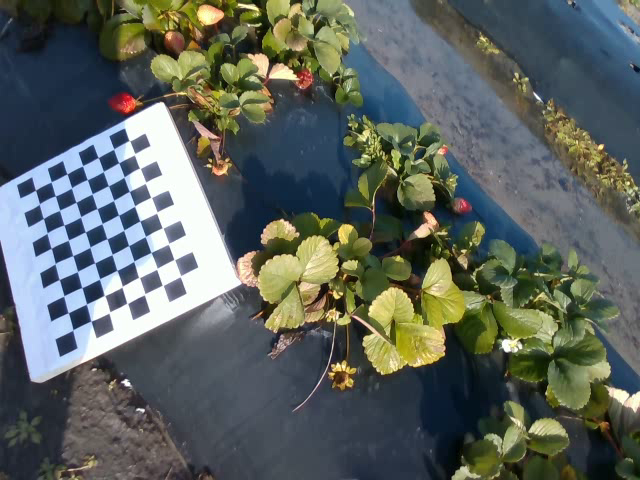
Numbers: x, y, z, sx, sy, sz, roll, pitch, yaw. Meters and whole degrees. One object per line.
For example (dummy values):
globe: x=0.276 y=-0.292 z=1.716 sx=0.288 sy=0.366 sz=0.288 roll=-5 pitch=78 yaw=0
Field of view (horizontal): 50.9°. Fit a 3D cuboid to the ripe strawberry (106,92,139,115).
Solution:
ripe strawberry: x=-0.246 y=-0.166 z=0.804 sx=0.037 sy=0.035 sz=0.033 roll=0 pitch=-37 yaw=-45
